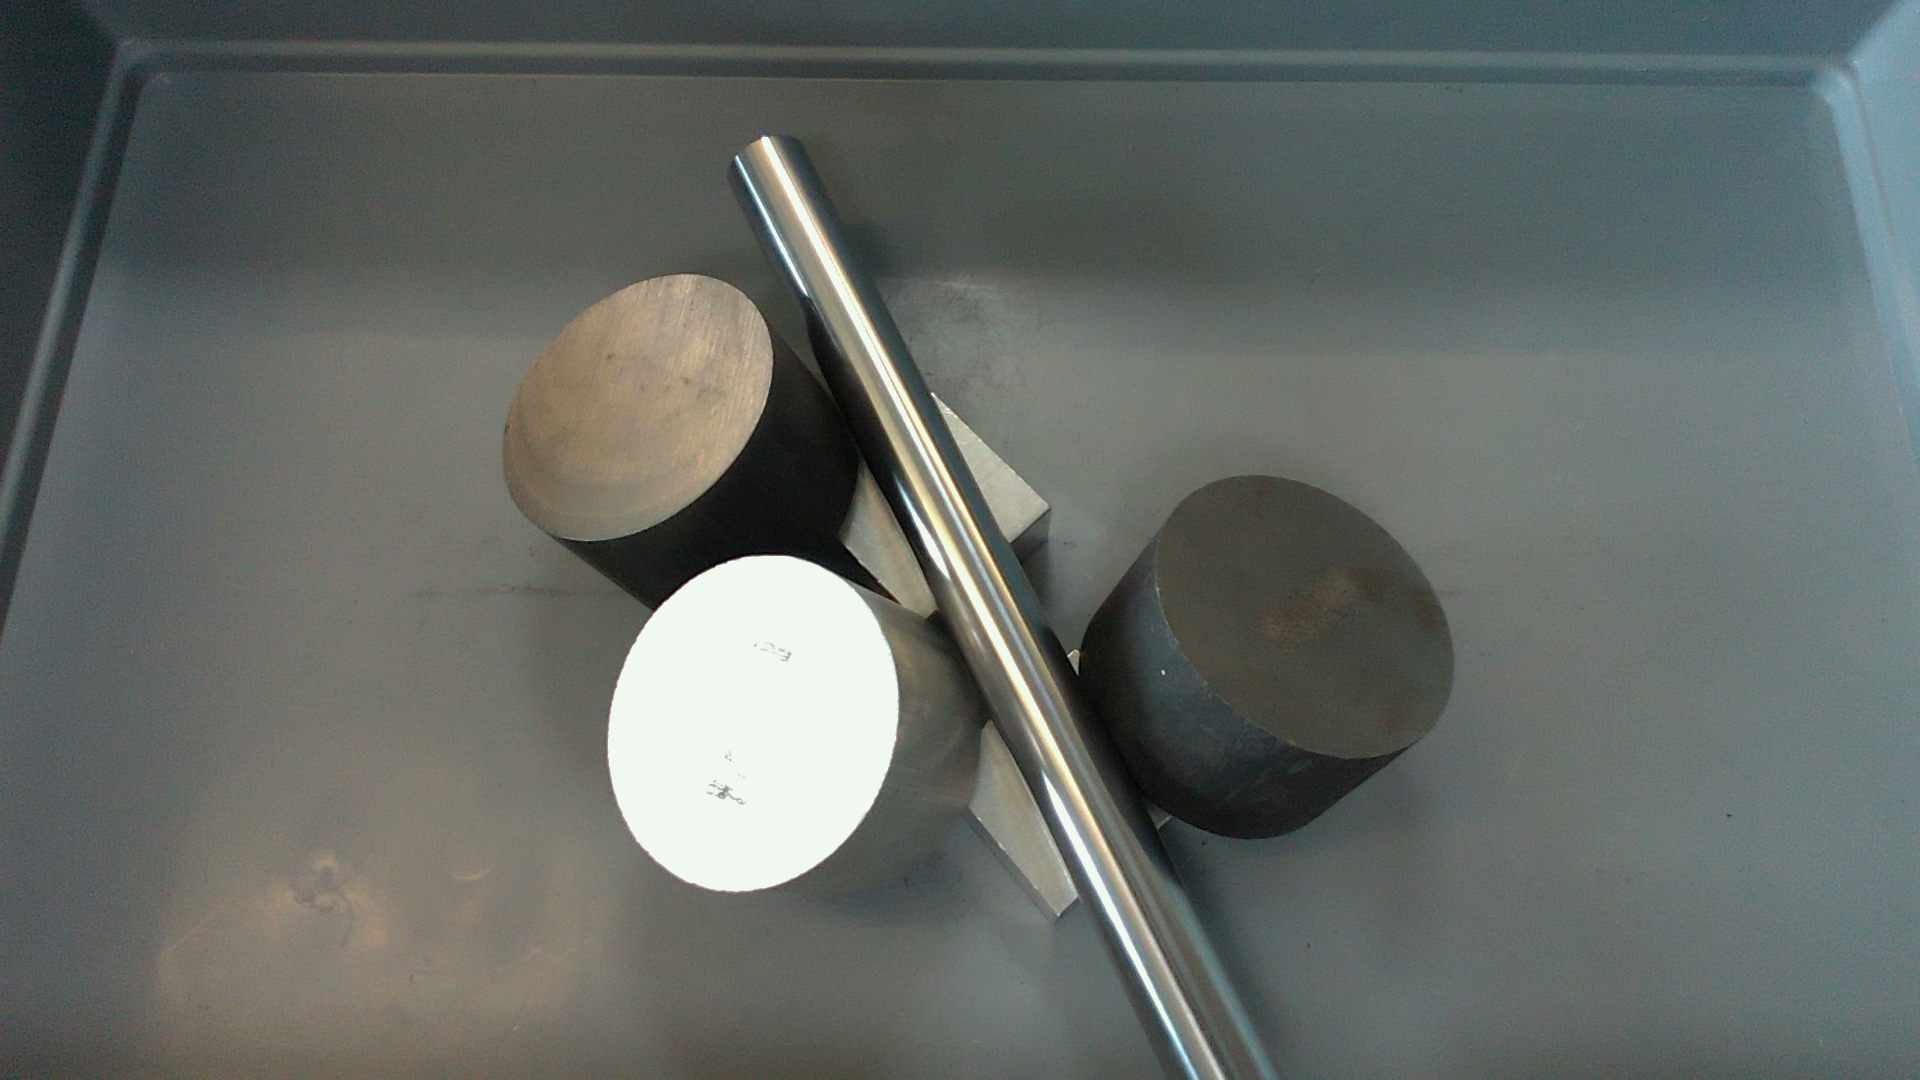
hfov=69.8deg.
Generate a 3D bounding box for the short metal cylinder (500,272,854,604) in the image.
[{"bbox_3d":[-0.076,-0.025,0.374,0.080,0.050,0.080,-10,60,18],"label":"short metal cylinder"}]

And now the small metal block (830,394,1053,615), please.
[{"bbox_3d":[-0.009,-0.006,0.396,0.050,0.025,0.050,-41,75,-14],"label":"small metal block"}]

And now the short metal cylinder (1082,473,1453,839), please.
[{"bbox_3d":[0.078,0.030,0.356,0.080,0.050,0.080,11,53,-15],"label":"short metal cylinder"}]

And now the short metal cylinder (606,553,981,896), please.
[{"bbox_3d":[-0.041,0.048,0.348,0.080,0.050,0.080,-6,73,22],"label":"short metal cylinder"}]

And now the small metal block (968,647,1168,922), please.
[{"bbox_3d":[0.028,0.066,0.369,0.050,0.025,0.050,-39,74,-13],"label":"small metal block"}]

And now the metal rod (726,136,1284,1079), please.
[{"bbox_3d":[0.007,0.016,0.360,0.025,0.025,0.300,-24,71,-8],"label":"metal rod"}]
